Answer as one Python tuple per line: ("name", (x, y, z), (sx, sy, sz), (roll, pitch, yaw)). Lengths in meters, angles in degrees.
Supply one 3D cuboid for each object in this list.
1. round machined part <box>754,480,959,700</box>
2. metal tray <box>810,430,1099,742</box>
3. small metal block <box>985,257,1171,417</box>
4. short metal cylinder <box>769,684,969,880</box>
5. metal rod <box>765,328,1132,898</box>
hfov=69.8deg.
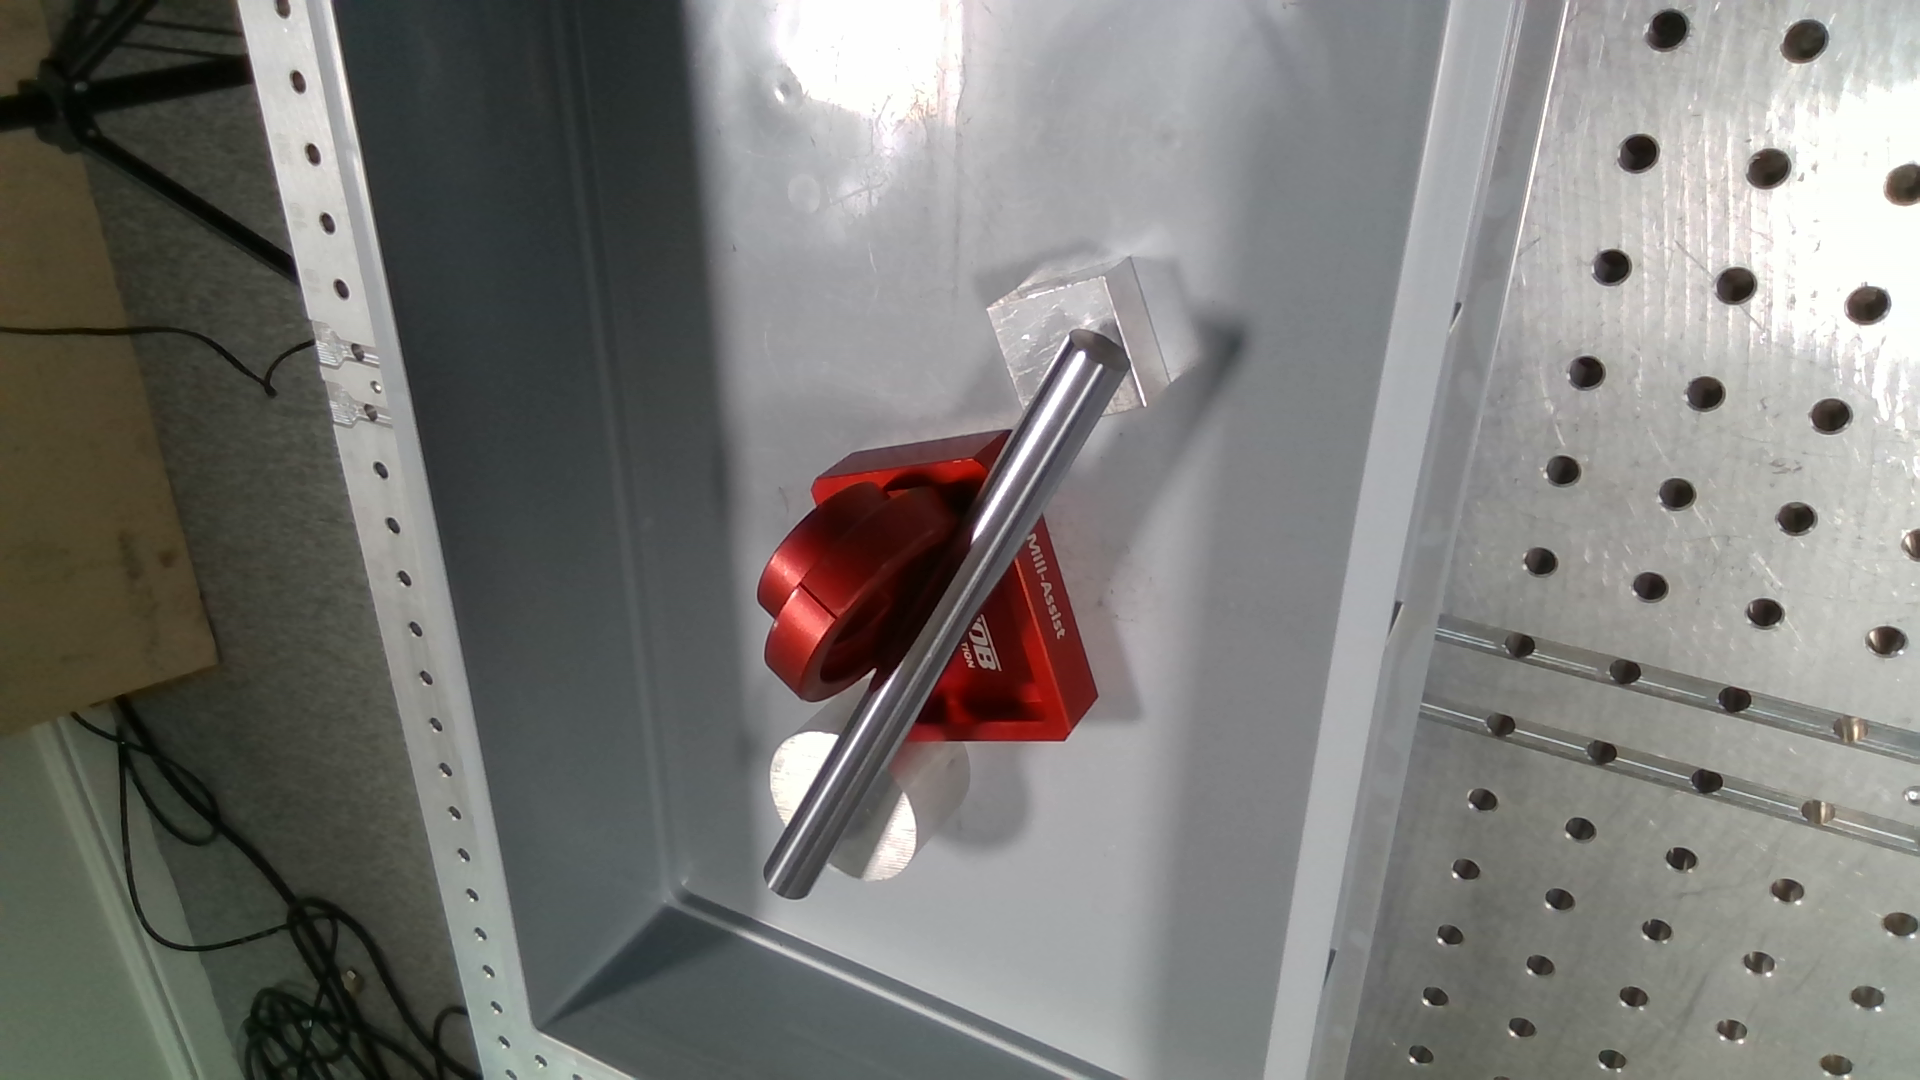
("round machined part", (-0.043, 0.015, 0.549), (0.042, 0.098, 0.098), (43, 130, 15))
("metal tray", (-0.002, 0.023, 0.588), (0.090, 0.030, 0.130), (-5, 112, 34))
("small metal block", (0.044, -0.072, 0.512), (0.050, 0.025, 0.050), (-9, 110, 35))
("short metal cylinder", (-0.043, 0.112, 0.650), (0.080, 0.050, 0.080), (14, 122, 25))
("metal rod", (-0.015, 0.044, 0.559), (0.025, 0.025, 0.301), (36, 122, 10))
